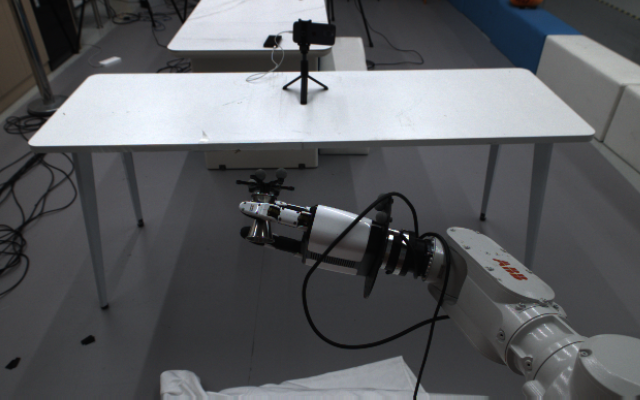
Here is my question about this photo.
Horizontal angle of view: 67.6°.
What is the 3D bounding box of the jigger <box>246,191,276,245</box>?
[{"bbox_3d":[-0.088,0.026,0.727,0.043,0.043,0.071,3,75,2],"label":"jigger"}]
